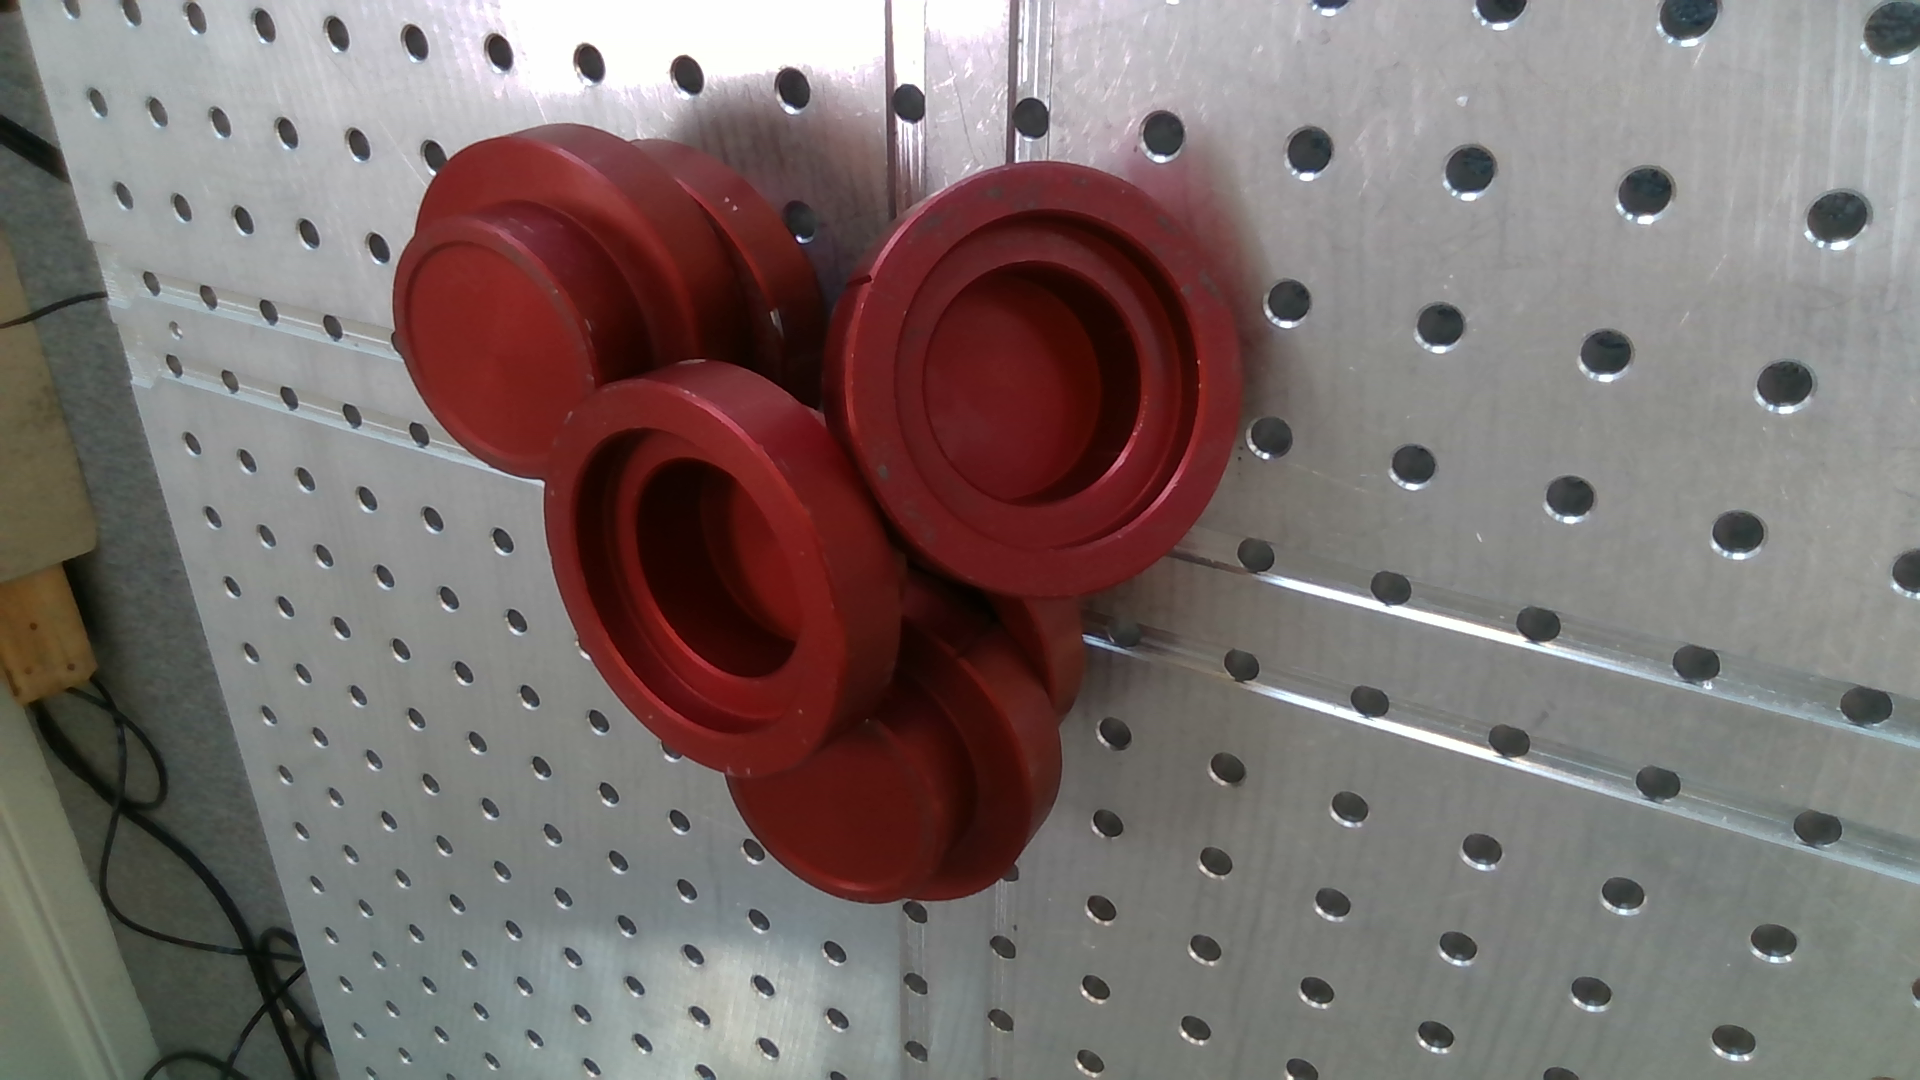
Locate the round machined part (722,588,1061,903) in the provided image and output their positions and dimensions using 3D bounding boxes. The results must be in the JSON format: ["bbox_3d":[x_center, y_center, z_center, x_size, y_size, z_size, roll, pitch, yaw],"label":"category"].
[{"bbox_3d":[-0.026,0.058,0.372,0.098,0.042,0.098,14,122,24],"label":"round machined part"}]

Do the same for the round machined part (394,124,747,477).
[{"bbox_3d":[-0.108,-0.056,0.361,0.098,0.042,0.098,14,122,25],"label":"round machined part"}]

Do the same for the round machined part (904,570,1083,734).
[{"bbox_3d":[-0.019,0.029,0.381,0.098,0.042,0.098,14,122,25],"label":"round machined part"}]

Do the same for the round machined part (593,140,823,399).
[{"bbox_3d":[-0.089,-0.056,0.377,0.098,0.042,0.098,14,122,25],"label":"round machined part"}]

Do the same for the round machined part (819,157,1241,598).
[{"bbox_3d":[0.014,-0.037,0.327,0.098,0.098,0.042,65,163,-13],"label":"round machined part"}]

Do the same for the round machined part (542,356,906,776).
[{"bbox_3d":[-0.052,0.003,0.332,0.098,0.042,0.098,17,120,32],"label":"round machined part"}]
